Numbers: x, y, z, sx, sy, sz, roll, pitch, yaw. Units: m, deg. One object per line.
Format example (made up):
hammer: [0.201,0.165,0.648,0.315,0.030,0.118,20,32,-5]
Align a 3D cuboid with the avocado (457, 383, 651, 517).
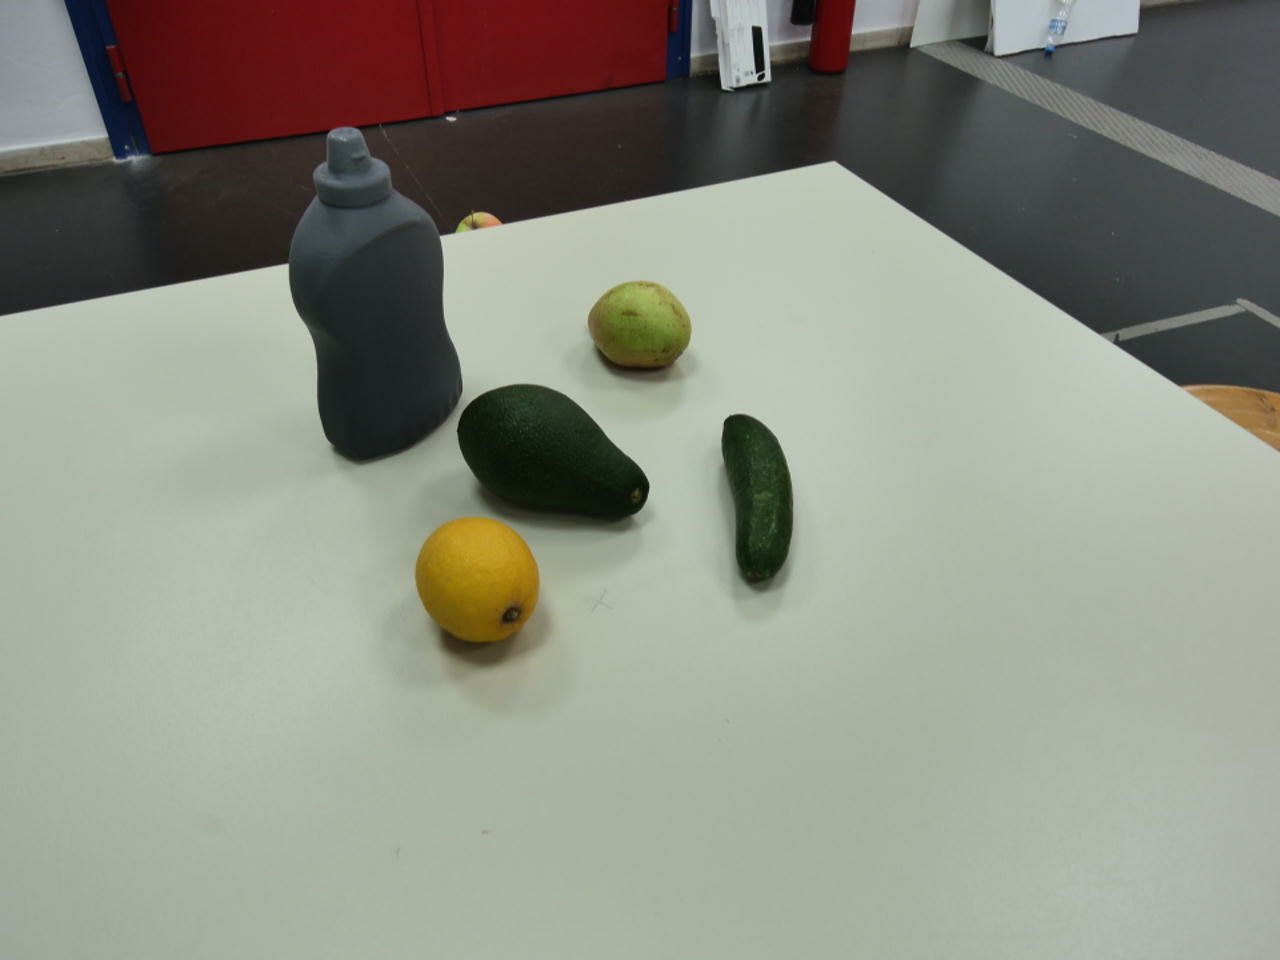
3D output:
avocado: [-0.053,-0.014,0.574,0.109,0.071,0.072,30,47,31]
